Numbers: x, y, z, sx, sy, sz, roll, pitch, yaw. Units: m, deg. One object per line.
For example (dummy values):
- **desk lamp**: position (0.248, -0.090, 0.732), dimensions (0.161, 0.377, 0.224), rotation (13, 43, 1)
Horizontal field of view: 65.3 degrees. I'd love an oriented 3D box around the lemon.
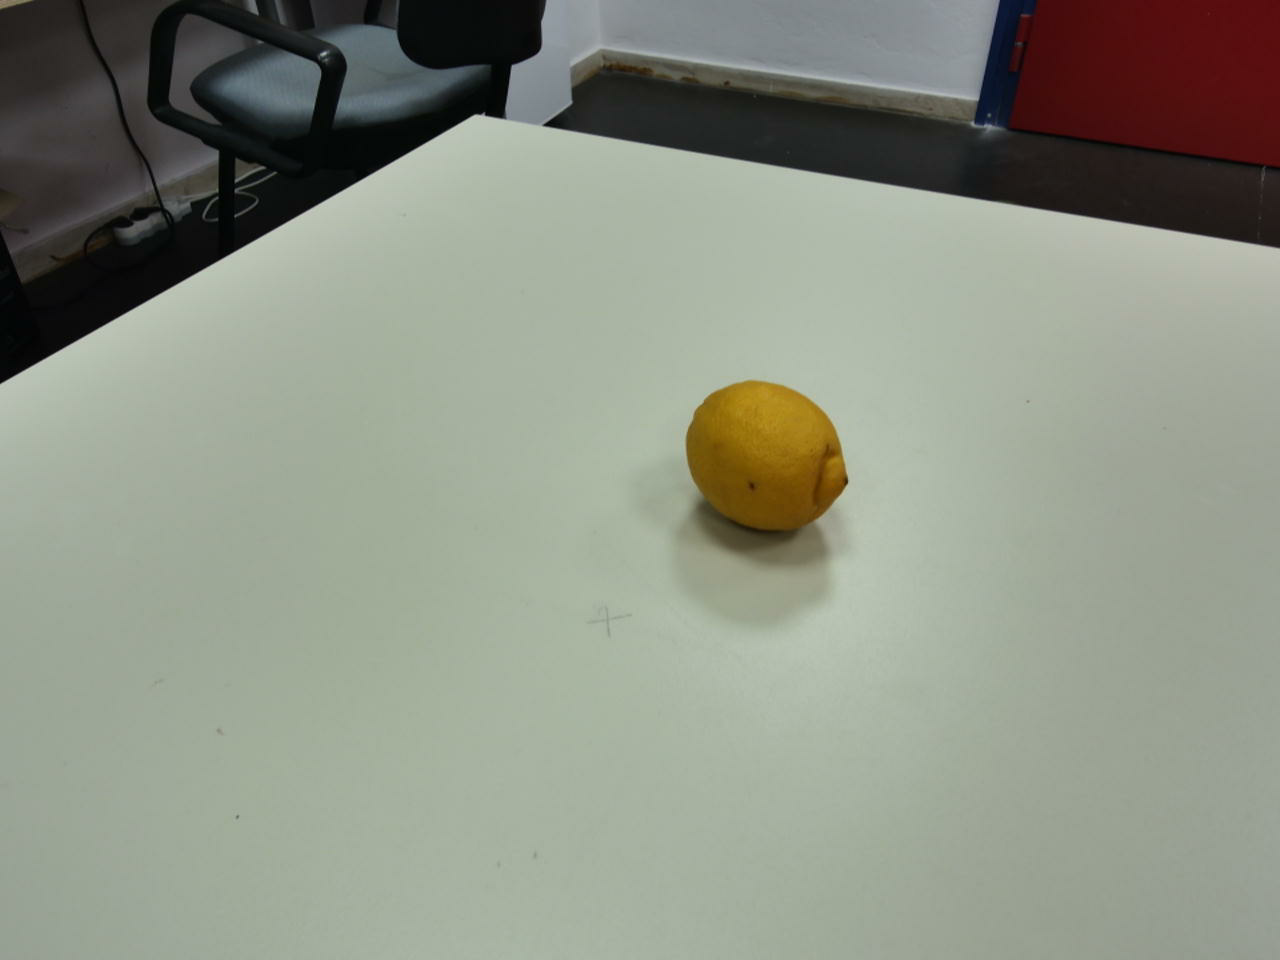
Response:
- **lemon**: position (0.052, -0.010, 0.417), dimensions (0.061, 0.059, 0.067), rotation (-13, 39, -16)
